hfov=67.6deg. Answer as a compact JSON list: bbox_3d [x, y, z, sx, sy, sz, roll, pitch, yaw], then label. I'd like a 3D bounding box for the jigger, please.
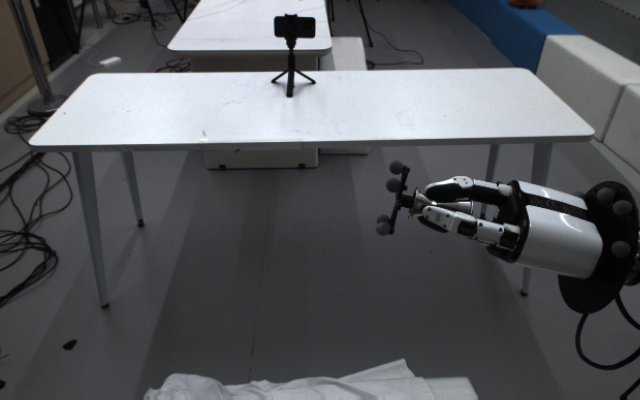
[{"bbox_3d":[0.151,0.010,0.583,0.071,0.043,0.043,14,36,4],"label":"jigger"}]
